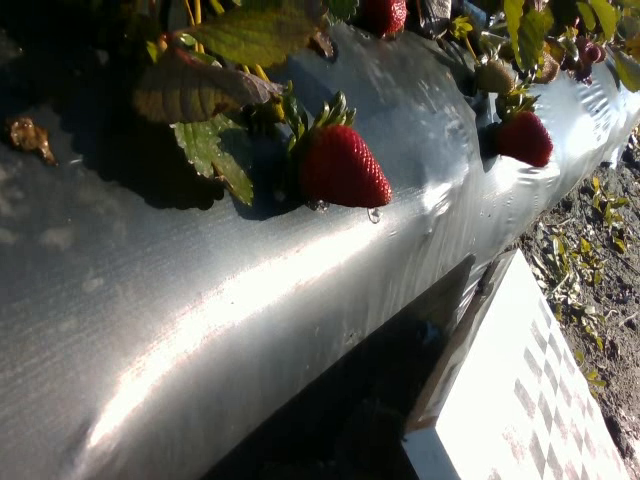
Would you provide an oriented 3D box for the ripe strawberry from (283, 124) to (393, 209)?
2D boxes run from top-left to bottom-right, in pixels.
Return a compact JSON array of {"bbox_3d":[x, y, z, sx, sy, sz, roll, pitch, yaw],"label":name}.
[{"bbox_3d":[0.014,-0.031,0.278,0.055,0.042,0.045,38,21,16],"label":"ripe strawberry"}]

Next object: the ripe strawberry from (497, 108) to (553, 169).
[{"bbox_3d":[0.168,-0.079,0.490,0.042,0.059,0.042,-35,-22,22],"label":"ripe strawberry"}]

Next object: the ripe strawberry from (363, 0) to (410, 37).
[{"bbox_3d":[0.047,-0.161,0.413,0.035,0.035,0.046,-26,4,21],"label":"ripe strawberry"}]
